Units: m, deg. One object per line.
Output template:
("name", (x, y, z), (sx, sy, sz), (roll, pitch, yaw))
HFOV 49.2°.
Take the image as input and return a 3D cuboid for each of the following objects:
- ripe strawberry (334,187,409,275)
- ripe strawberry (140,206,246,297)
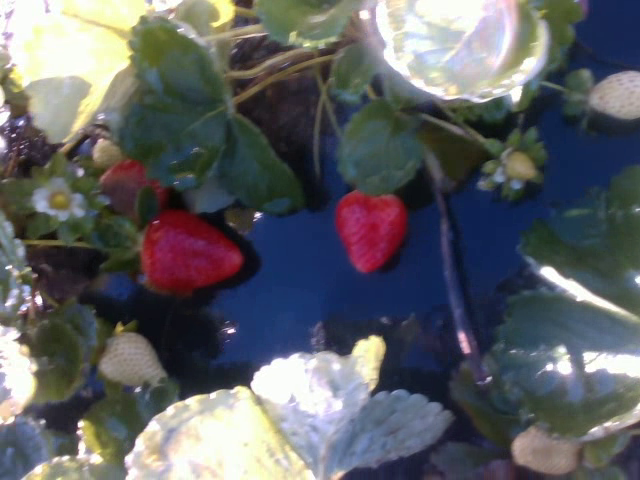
("ripe strawberry", (0.025, -0.004, 0.303), (0.039, 0.047, 0.040), (2, -5, 6))
("ripe strawberry", (-0.065, 0.011, 0.329), (0.056, 0.044, 0.040), (13, 7, 5))
